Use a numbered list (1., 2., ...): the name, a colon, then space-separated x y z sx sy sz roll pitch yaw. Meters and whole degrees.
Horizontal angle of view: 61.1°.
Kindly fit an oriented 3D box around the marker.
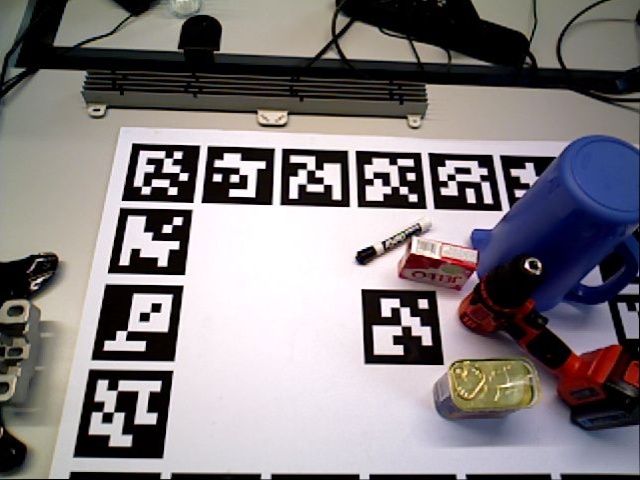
1. marker: 0.112 -0.003 0.739 0.119 0.020 0.019 -24 68 -13

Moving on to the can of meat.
1. can of meat: 0.198 0.178 0.620 0.101 0.085 0.057 1 62 -4

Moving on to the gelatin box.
1. gelatin box: 0.168 0.036 0.697 0.089 0.074 0.030 12 67 0

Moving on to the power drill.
1. power drill: 0.269 0.101 0.609 0.187 0.187 0.056 35 68 6

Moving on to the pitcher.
1. pitcher: 0.317 -0.001 0.635 0.189 0.246 0.131 29 68 17
